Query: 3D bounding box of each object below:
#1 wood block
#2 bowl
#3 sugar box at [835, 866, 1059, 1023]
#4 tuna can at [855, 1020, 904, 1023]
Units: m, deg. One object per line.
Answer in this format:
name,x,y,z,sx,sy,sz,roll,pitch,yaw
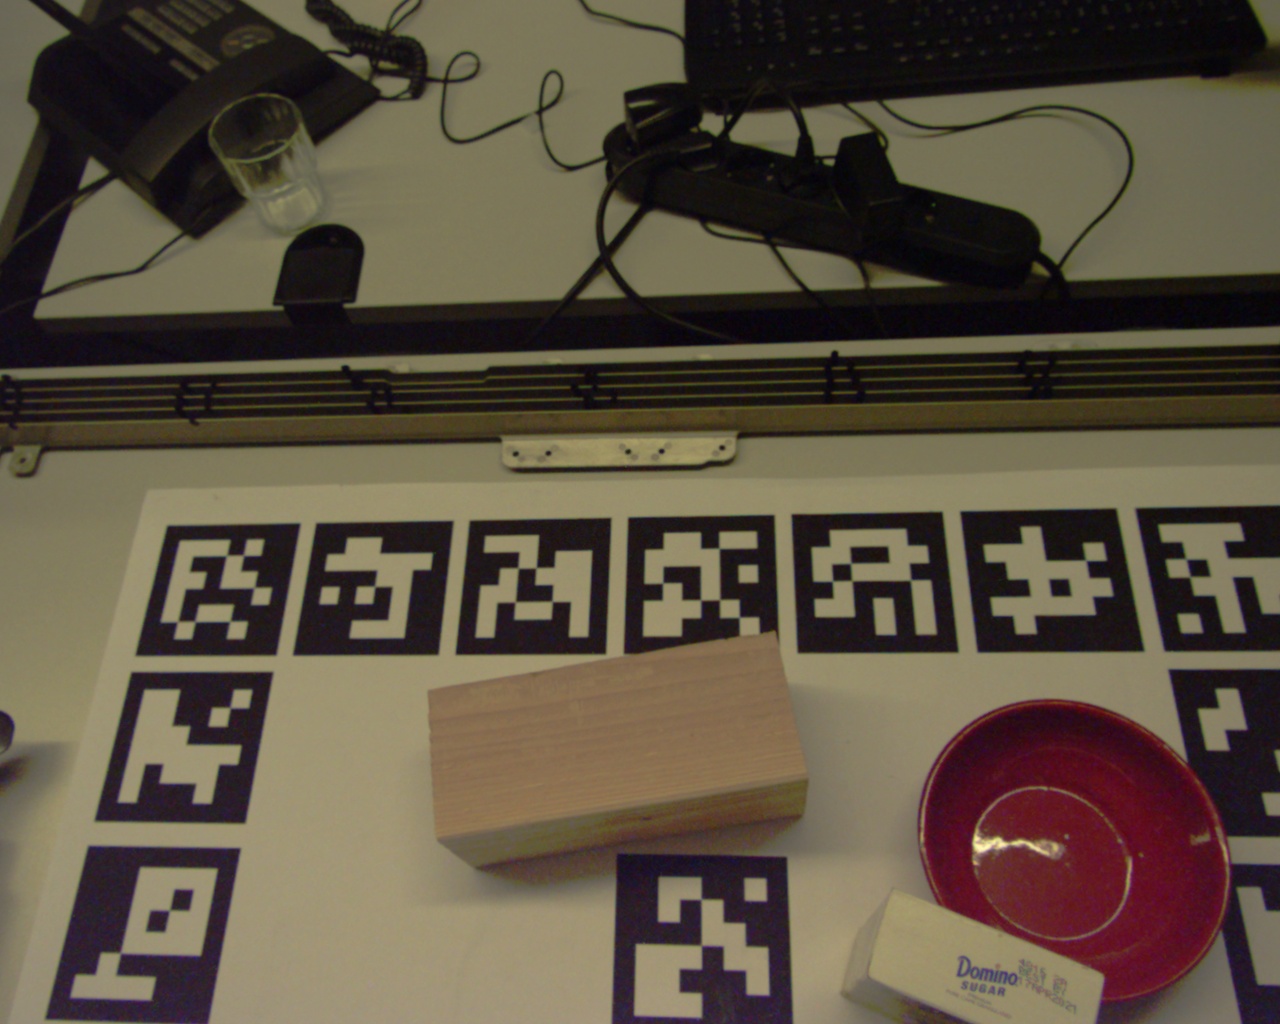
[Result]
wood block,-0.021,0.146,0.704,0.206,0.089,0.091,-9,65,1
bowl,0.237,0.188,0.663,0.162,0.055,0.162,-5,60,9
sugar box,0.149,0.232,0.579,0.094,0.175,0.045,17,67,19
tuna can,0.132,0.320,0.613,0.086,0.033,0.086,-3,64,6
